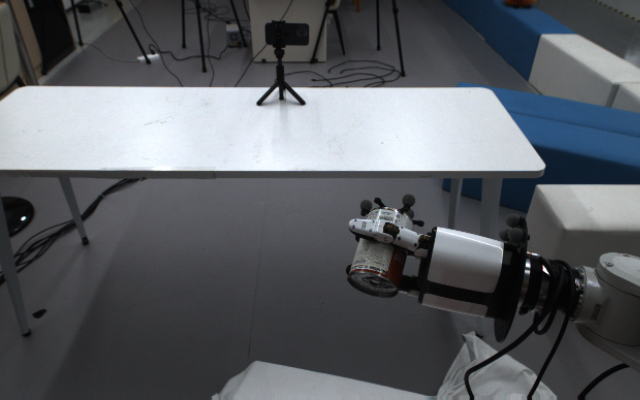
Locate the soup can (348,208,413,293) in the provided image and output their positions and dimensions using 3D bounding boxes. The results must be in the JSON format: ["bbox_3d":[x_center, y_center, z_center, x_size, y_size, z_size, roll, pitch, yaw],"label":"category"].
[{"bbox_3d":[0.083,0.066,0.643,0.067,0.067,0.101,12,59,14],"label":"soup can"}]
